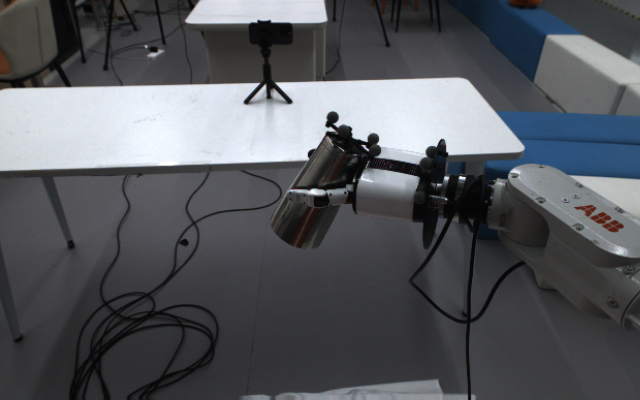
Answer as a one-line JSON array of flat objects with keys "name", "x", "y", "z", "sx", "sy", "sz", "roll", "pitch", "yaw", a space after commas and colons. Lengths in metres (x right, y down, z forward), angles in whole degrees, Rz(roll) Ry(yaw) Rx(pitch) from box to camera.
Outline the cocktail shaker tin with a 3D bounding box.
[{"name": "cocktail shaker tin", "x": 0.001, "y": -0.020, "z": 0.745, "sx": 0.093, "sy": 0.170, "sz": 0.093, "roll": 25, "pitch": 29, "yaw": -15}]
